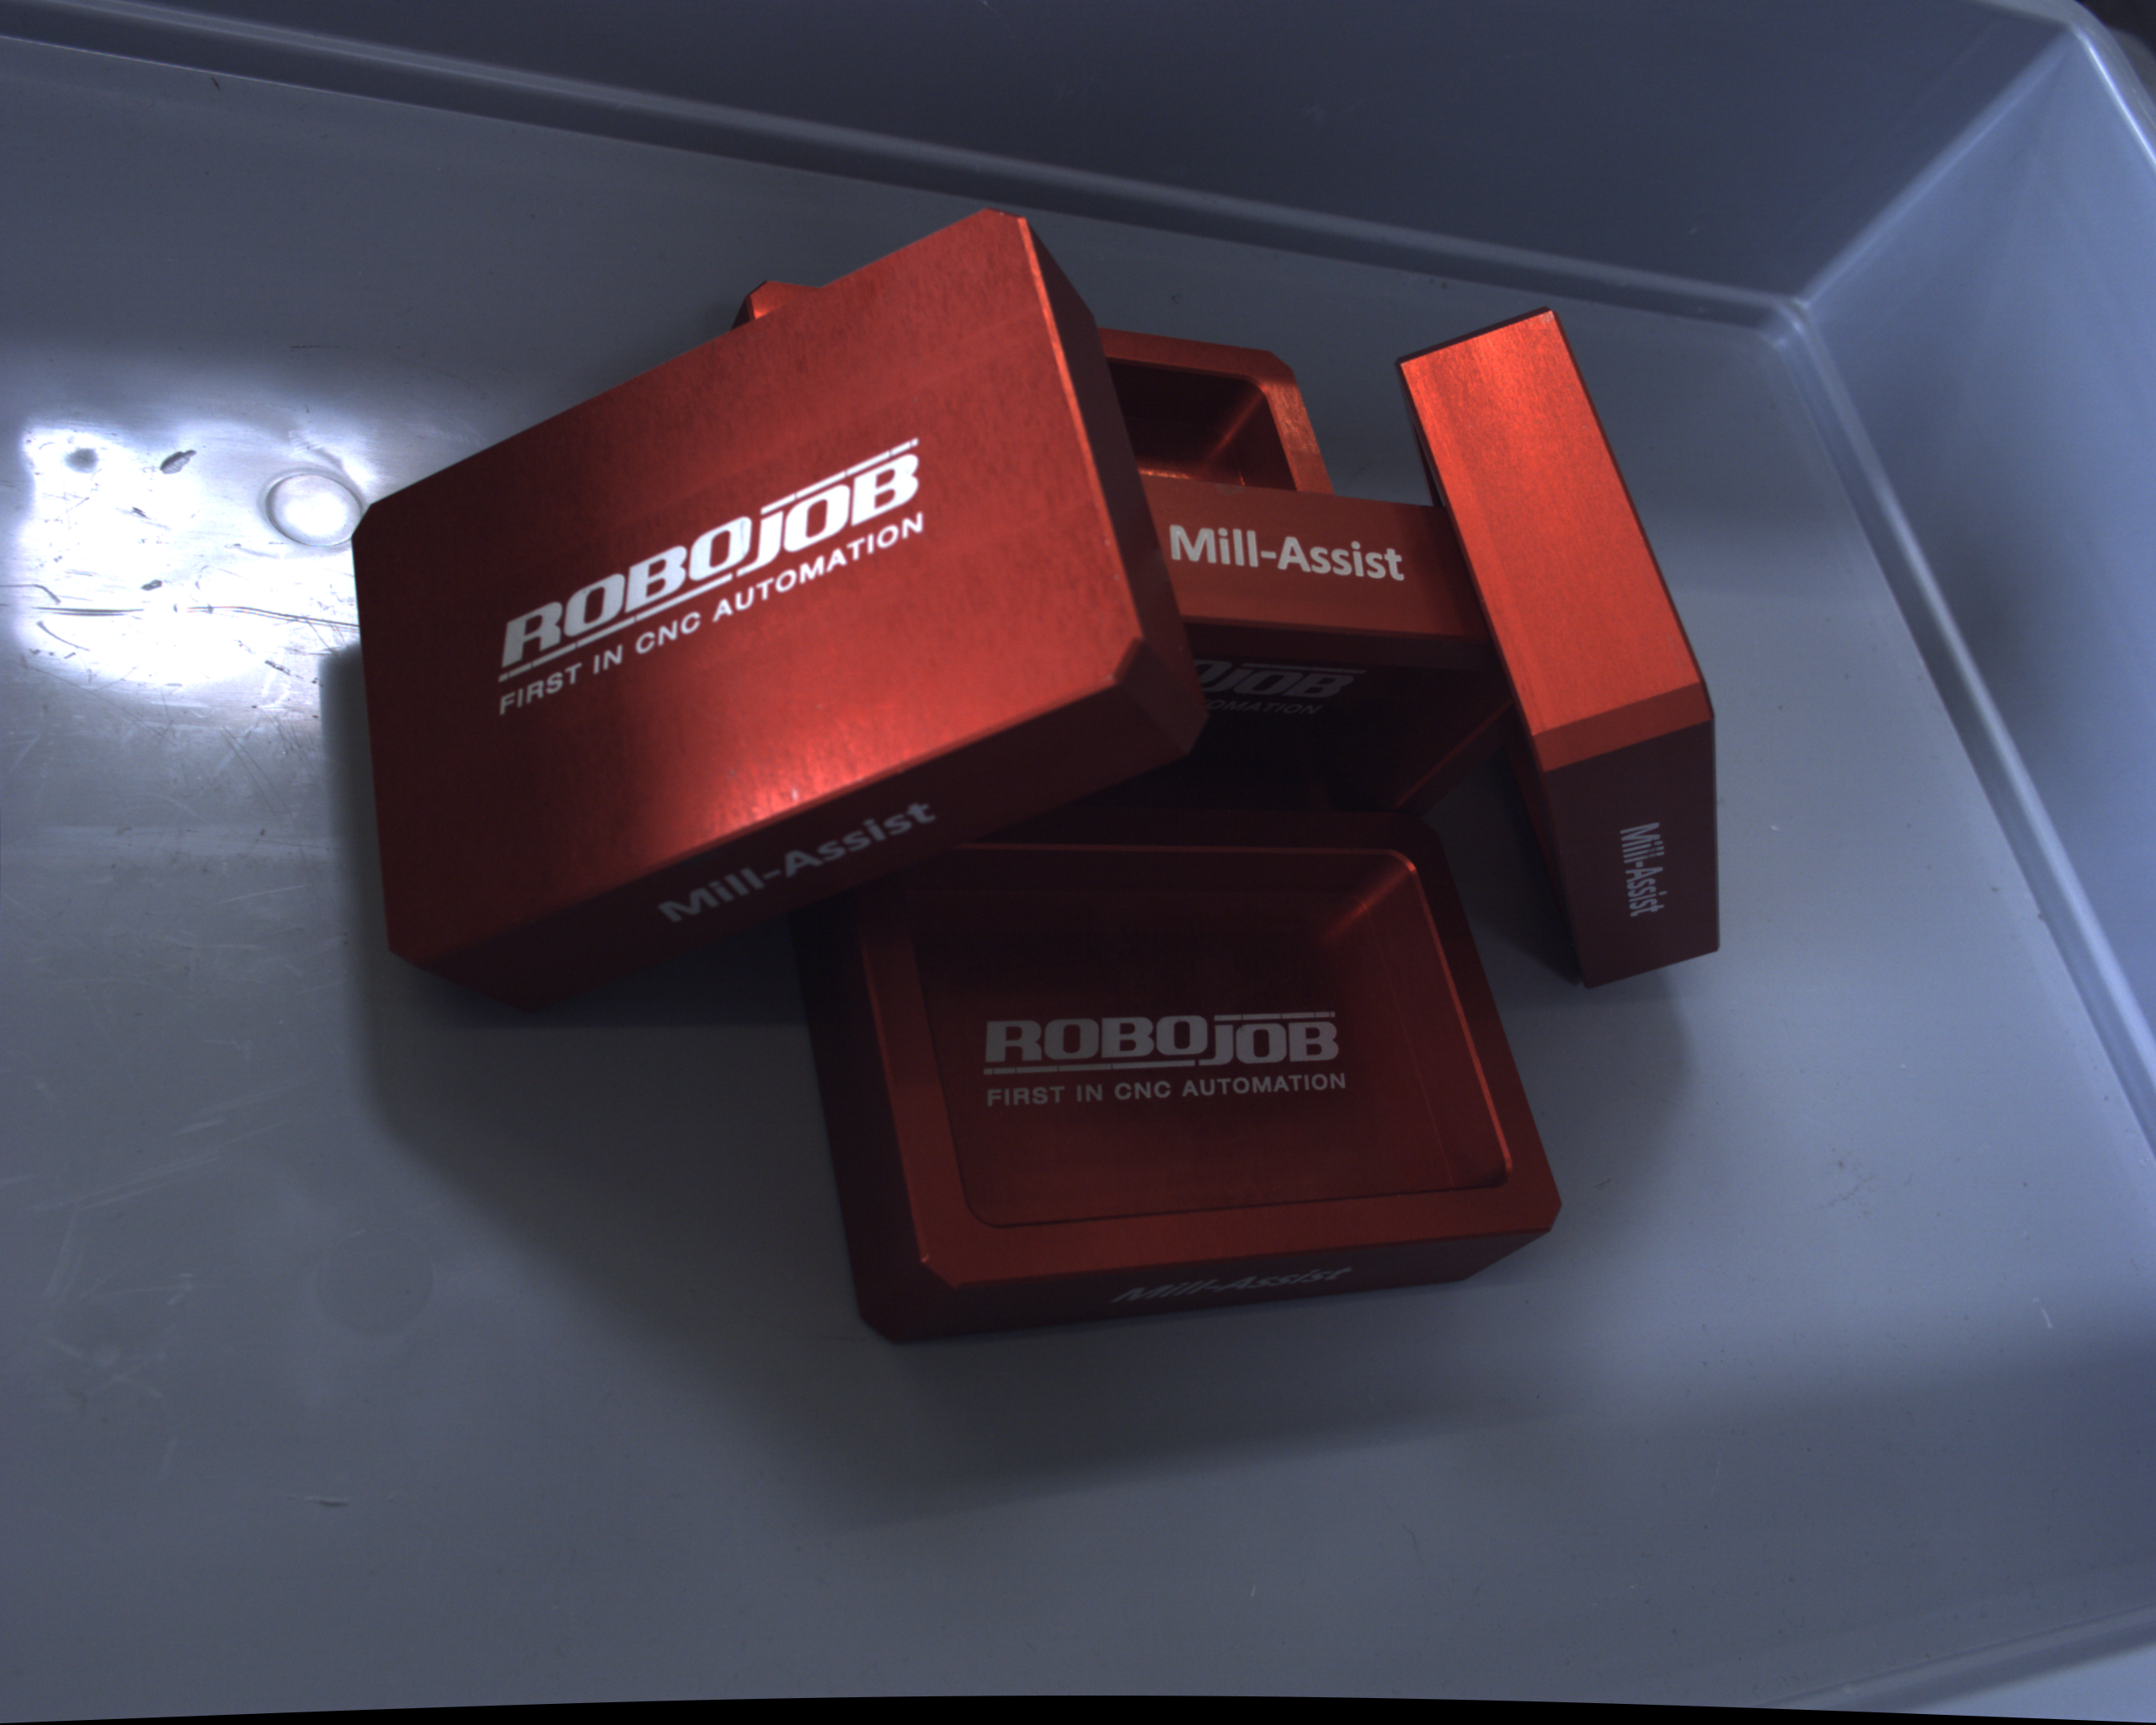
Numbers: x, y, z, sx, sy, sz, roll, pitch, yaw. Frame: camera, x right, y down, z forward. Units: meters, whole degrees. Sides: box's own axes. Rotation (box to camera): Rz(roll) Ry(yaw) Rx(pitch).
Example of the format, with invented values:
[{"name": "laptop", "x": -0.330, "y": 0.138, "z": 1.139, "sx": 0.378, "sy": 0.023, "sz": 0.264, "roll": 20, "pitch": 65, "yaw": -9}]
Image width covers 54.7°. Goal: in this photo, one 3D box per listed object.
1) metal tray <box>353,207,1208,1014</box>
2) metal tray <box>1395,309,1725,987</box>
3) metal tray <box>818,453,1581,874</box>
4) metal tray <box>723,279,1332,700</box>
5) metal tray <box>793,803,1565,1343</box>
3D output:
[{"name": "metal tray", "x": -0.053, "y": -0.039, "z": 0.340, "sx": 0.030, "sy": 0.130, "sz": 0.090, "roll": 41, "pitch": 32, "yaw": -60}, {"name": "metal tray", "x": 0.100, "y": -0.038, "z": 0.421, "sx": 0.030, "sy": 0.130, "sz": 0.090, "roll": -19, "pitch": 64, "yaw": 10}, {"name": "metal tray", "x": 0.016, "y": -0.031, "z": 0.390, "sx": 0.131, "sy": 0.090, "sz": 0.030, "roll": 1, "pitch": 62, "yaw": -29}, {"name": "metal tray", "x": -0.006, "y": -0.071, "z": 0.440, "sx": 0.131, "sy": 0.030, "sz": 0.090, "roll": 0, "pitch": 62, "yaw": -29}, {"name": "metal tray", "x": 0.019, "y": 0.035, "z": 0.387, "sx": 0.131, "sy": 0.030, "sz": 0.090, "roll": 1, "pitch": 61, "yaw": -29}]
